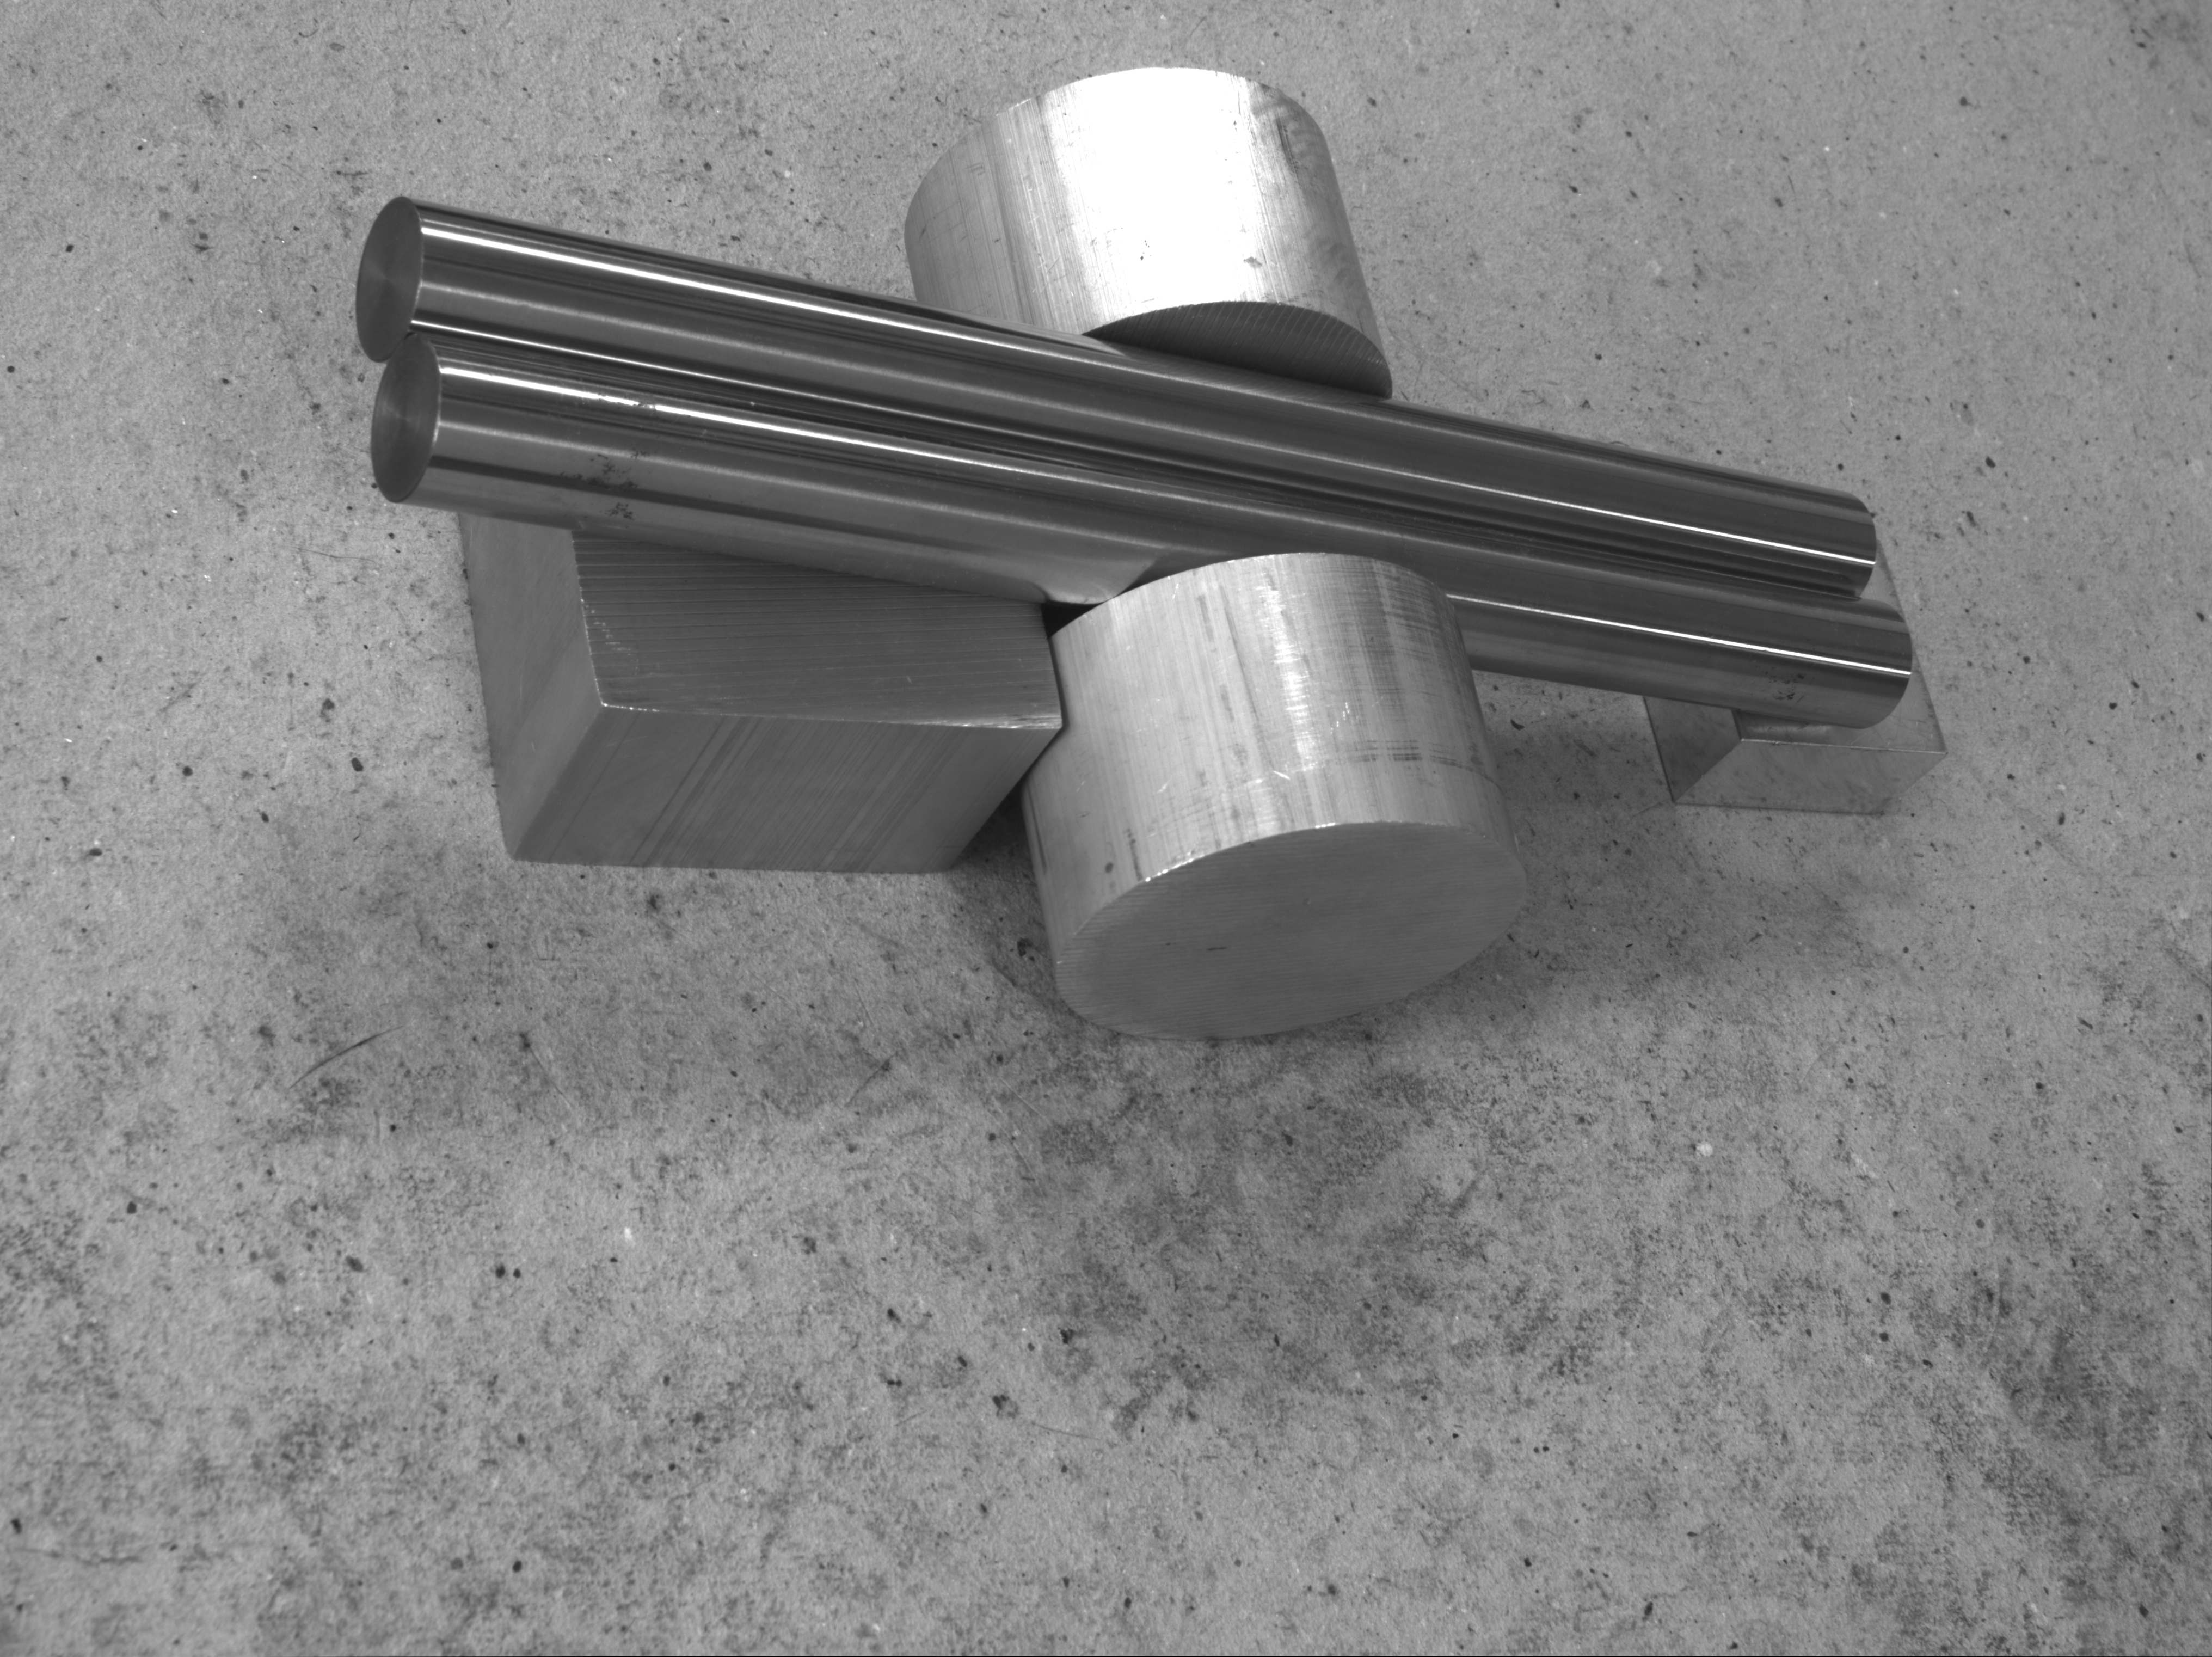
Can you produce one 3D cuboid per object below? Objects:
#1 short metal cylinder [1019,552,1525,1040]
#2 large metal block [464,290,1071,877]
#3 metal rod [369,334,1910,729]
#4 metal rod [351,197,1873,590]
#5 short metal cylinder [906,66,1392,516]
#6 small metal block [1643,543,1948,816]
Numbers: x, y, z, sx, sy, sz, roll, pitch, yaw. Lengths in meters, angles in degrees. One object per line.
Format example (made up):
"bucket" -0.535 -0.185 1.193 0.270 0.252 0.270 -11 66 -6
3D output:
"short metal cylinder" 0.026 -0.004 0.621 0.080 0.080 0.050 2 61 -27
"large metal block" -0.059 -0.040 0.617 0.080 0.050 0.080 2 61 -27
"metal rod" 0.021 -0.046 0.621 0.301 0.025 0.025 7 58 -34
"metal rod" 0.016 -0.068 0.632 0.301 0.025 0.025 7 58 -34
"short metal cylinder" 0.007 -0.092 0.665 0.080 0.080 0.050 2 61 -27
"small metal block" 0.133 -0.032 0.731 0.050 0.025 0.050 3 60 -26
